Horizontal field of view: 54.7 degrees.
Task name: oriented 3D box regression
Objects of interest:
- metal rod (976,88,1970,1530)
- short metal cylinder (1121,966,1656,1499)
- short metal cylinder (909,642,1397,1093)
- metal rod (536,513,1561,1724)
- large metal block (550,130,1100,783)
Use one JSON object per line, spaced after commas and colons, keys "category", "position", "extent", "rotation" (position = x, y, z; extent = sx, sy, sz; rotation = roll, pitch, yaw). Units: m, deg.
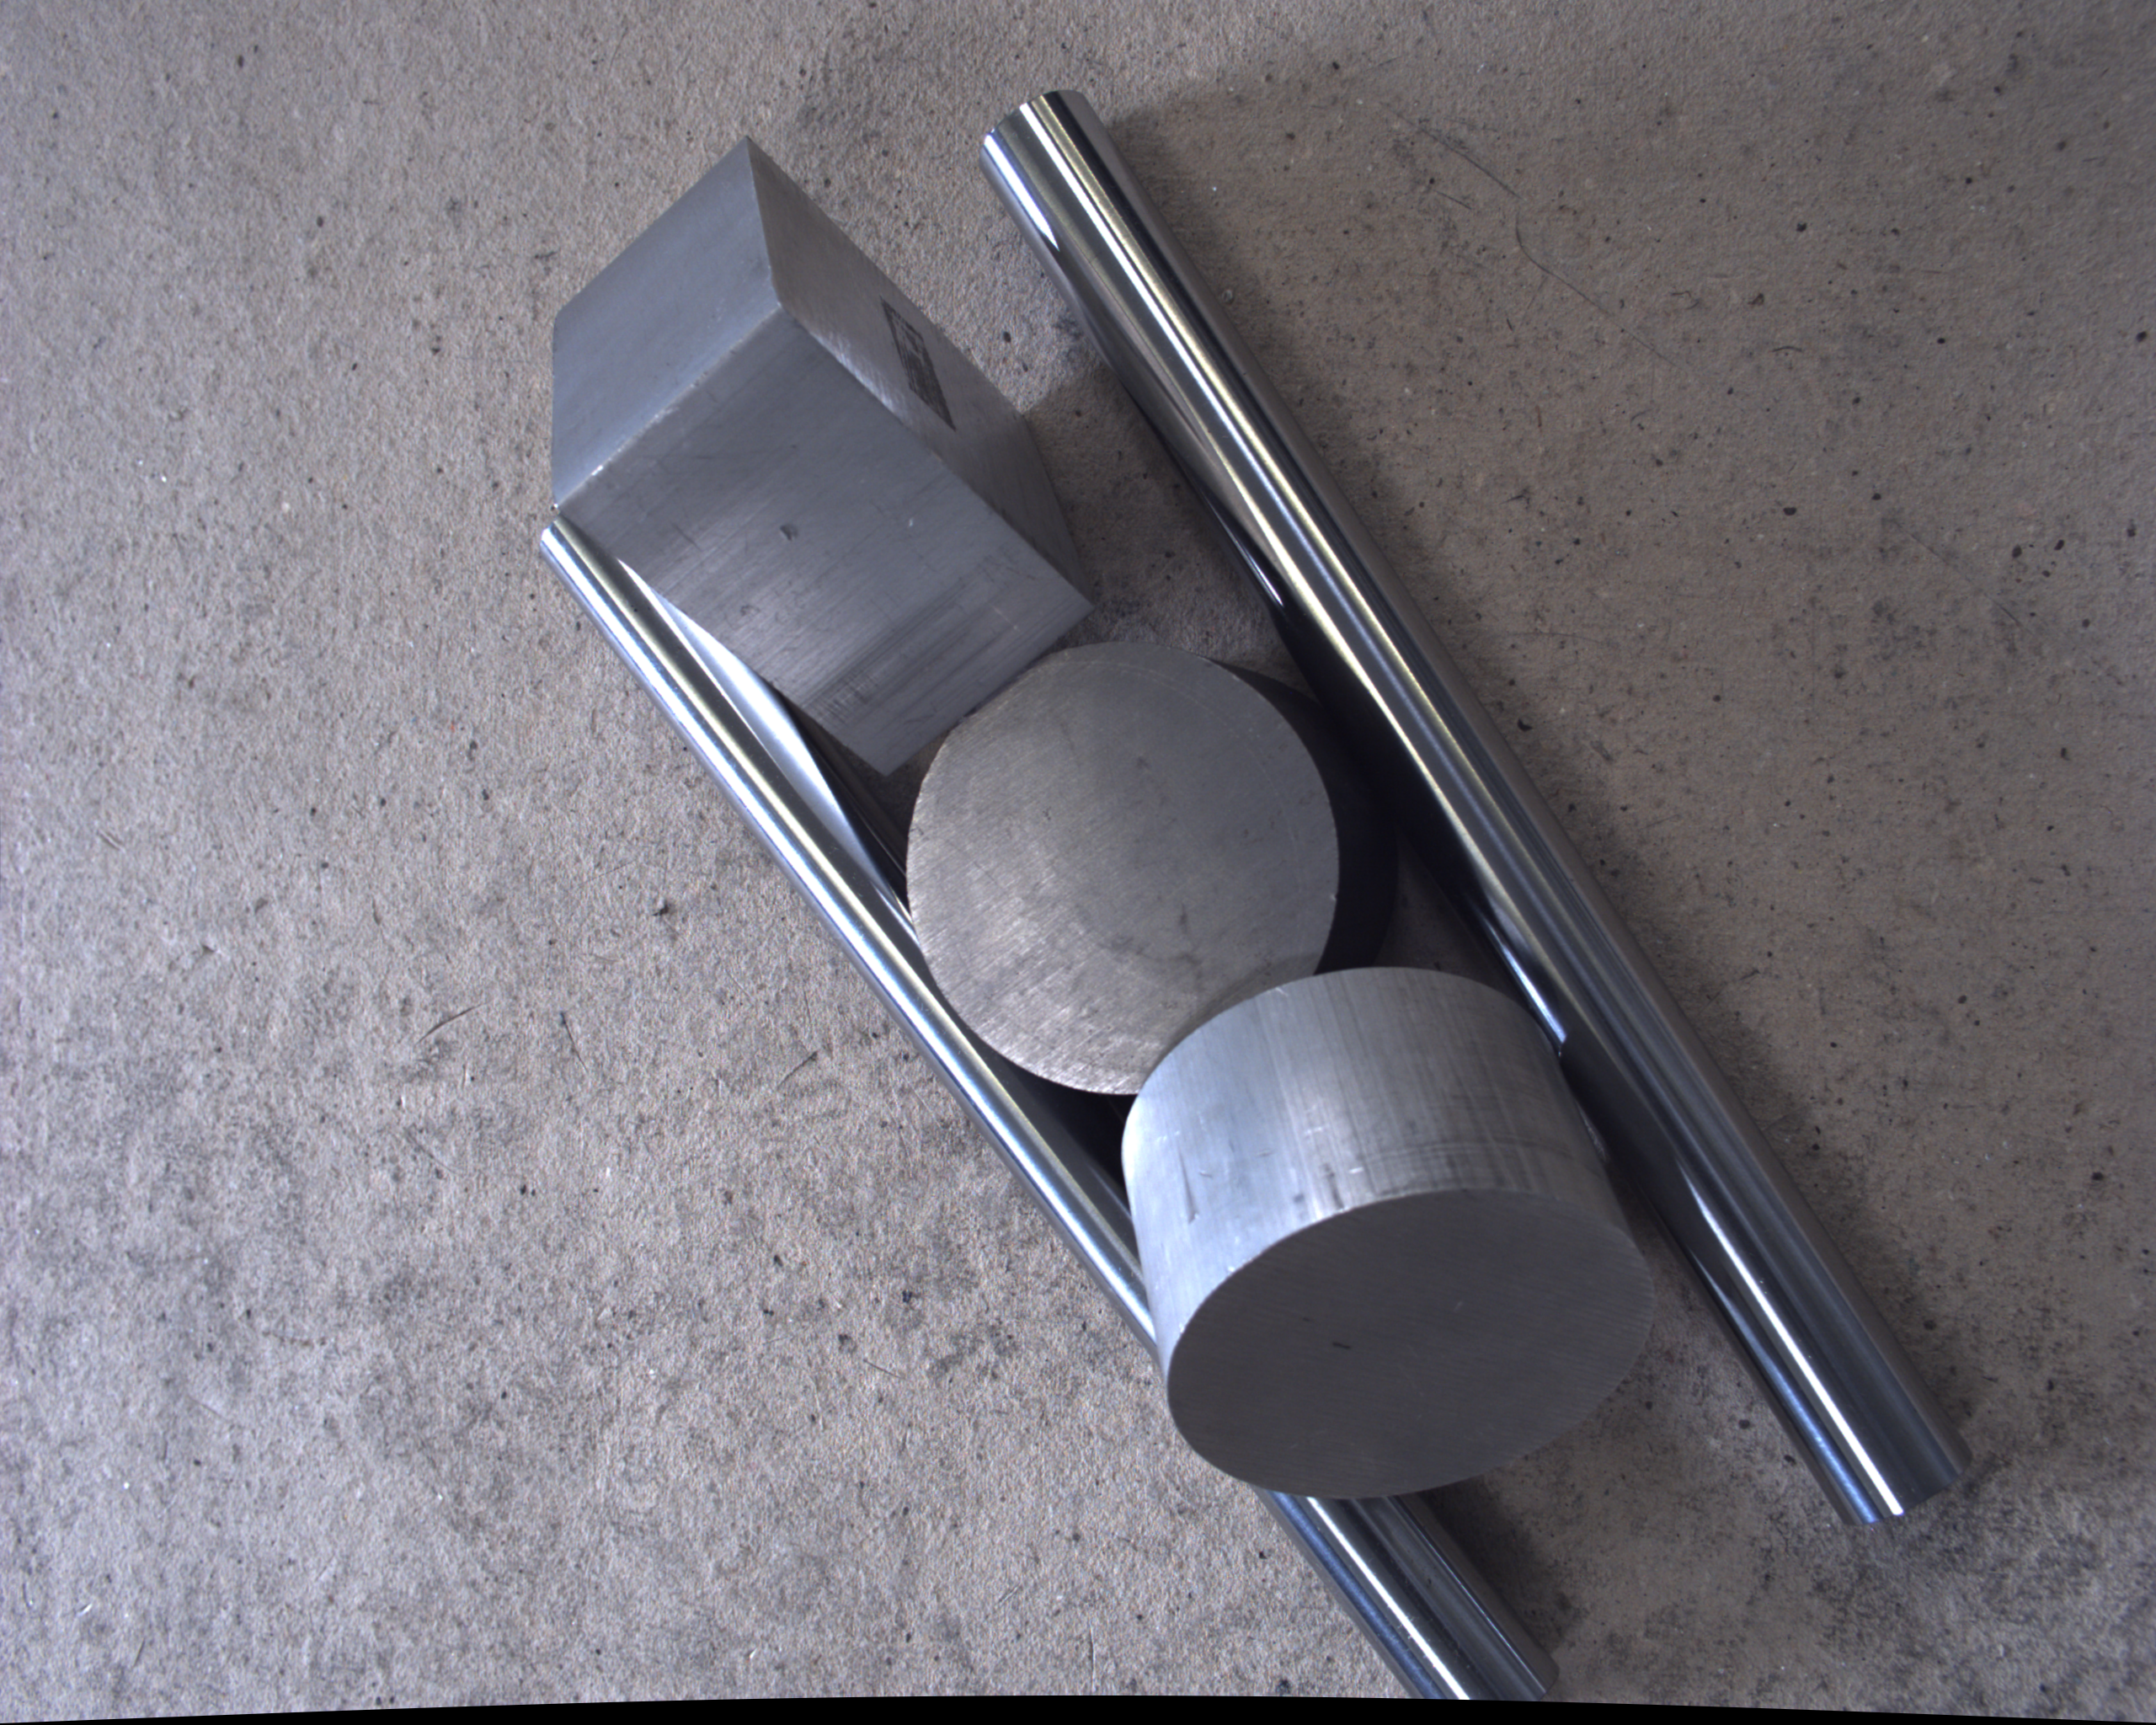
{"category": "metal rod", "position": [0.066, -0.018, 0.386], "extent": [0.025, 0.025, 0.299], "rotation": [-34, 79, 17]}
{"category": "short metal cylinder", "position": [0.051, 0.064, 0.356], "extent": [0.080, 0.080, 0.050], "rotation": [-33, 37, 17]}
{"category": "short metal cylinder", "position": [0.016, 0.001, 0.391], "extent": [0.080, 0.050, 0.080], "rotation": [0, 90, 20]}
{"category": "metal rod", "position": [-0.013, 0.041, 0.414], "extent": [0.025, 0.025, 0.300], "rotation": [-42, 77, 15]}
{"category": "large metal block", "position": [-0.048, -0.075, 0.381], "extent": [0.050, 0.080, 0.080], "rotation": [-38, 36, 16]}
